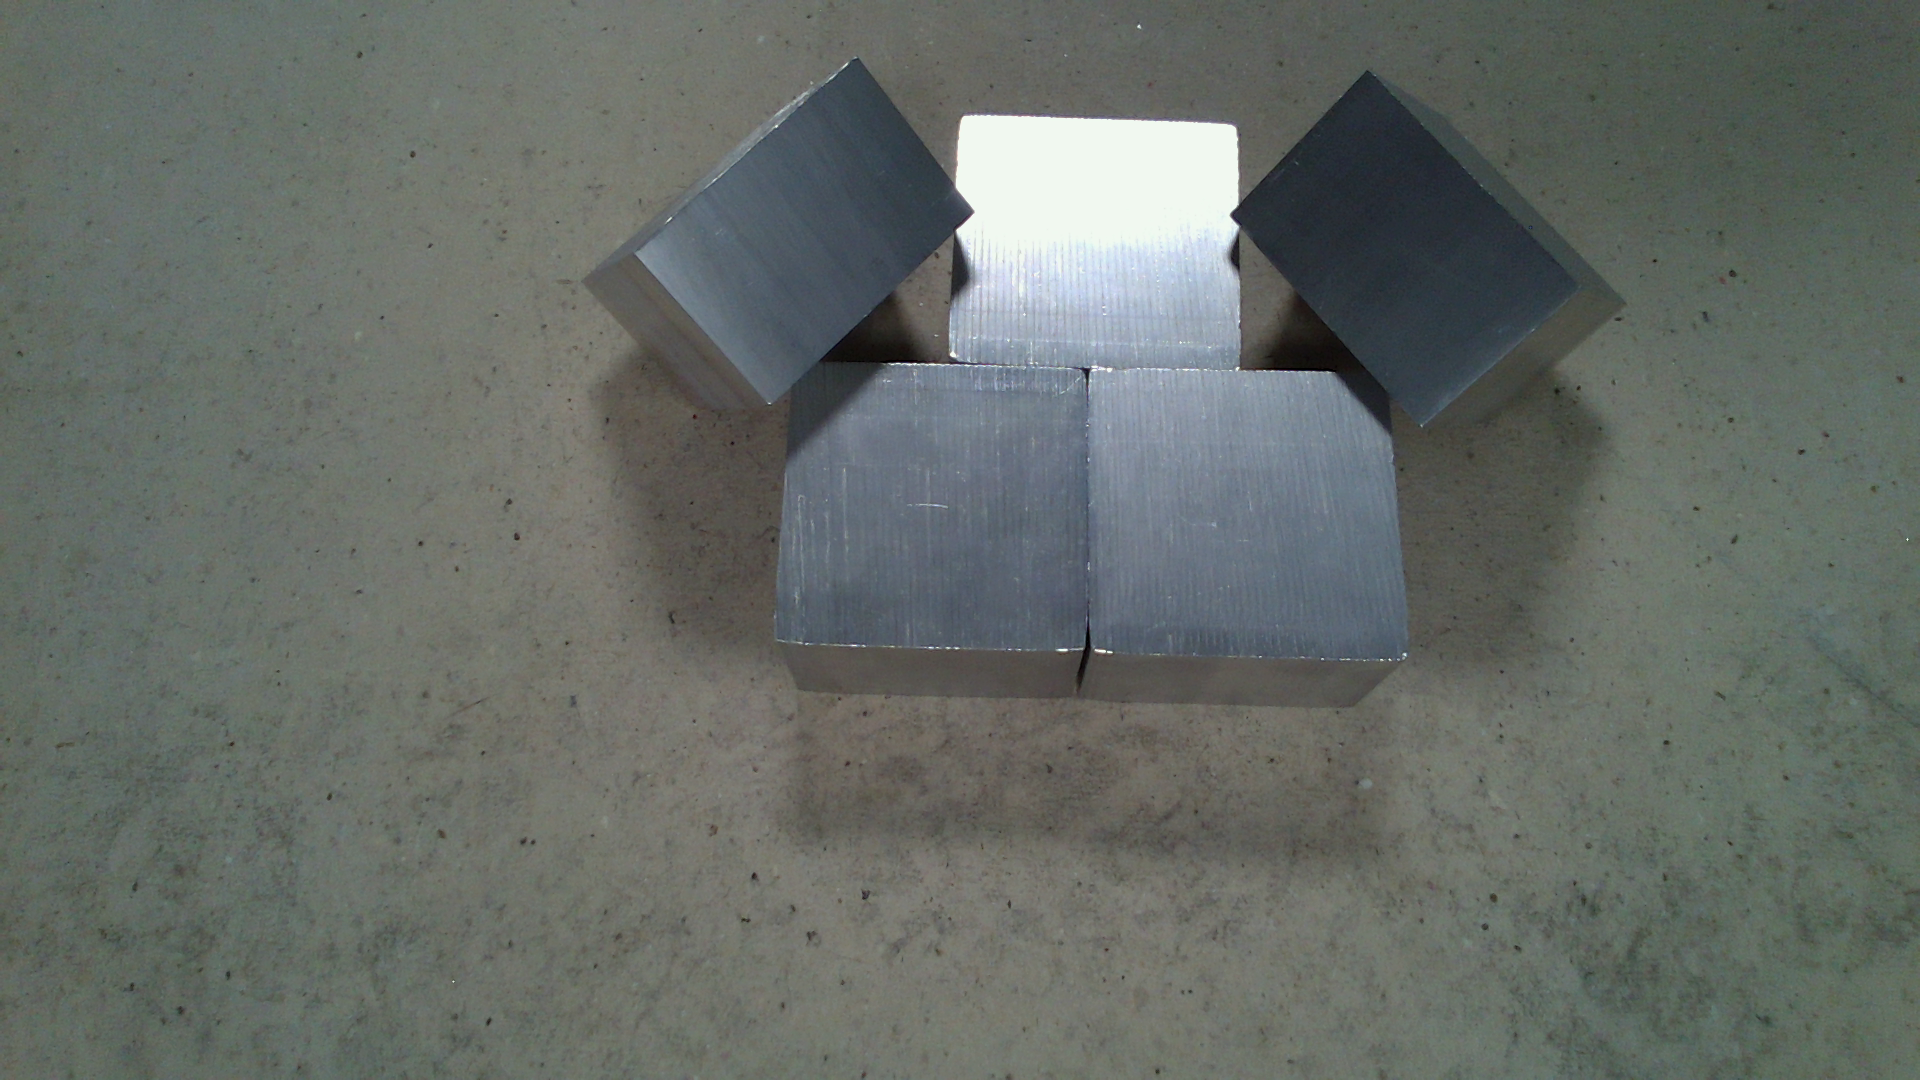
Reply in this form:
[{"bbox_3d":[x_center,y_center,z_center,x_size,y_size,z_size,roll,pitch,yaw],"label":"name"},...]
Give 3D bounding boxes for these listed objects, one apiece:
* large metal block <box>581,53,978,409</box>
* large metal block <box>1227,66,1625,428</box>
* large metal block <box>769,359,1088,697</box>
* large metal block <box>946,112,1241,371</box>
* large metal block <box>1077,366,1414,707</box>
[{"bbox_3d":[-0.054,-0.083,0.388,0.080,0.080,0.050,-46,110,-14],"label":"large metal block"},{"bbox_3d":[0.133,-0.079,0.388,0.050,0.080,0.080,-46,71,27],"label":"large metal block"},{"bbox_3d":[-0.007,-0.002,0.382,0.080,0.050,0.080,1,70,0],"label":"large metal block"},{"bbox_3d":[0.038,-0.077,0.410,0.080,0.050,0.080,3,70,1],"label":"large metal block"},{"bbox_3d":[0.074,0.000,0.379,0.080,0.050,0.080,1,70,0],"label":"large metal block"}]
